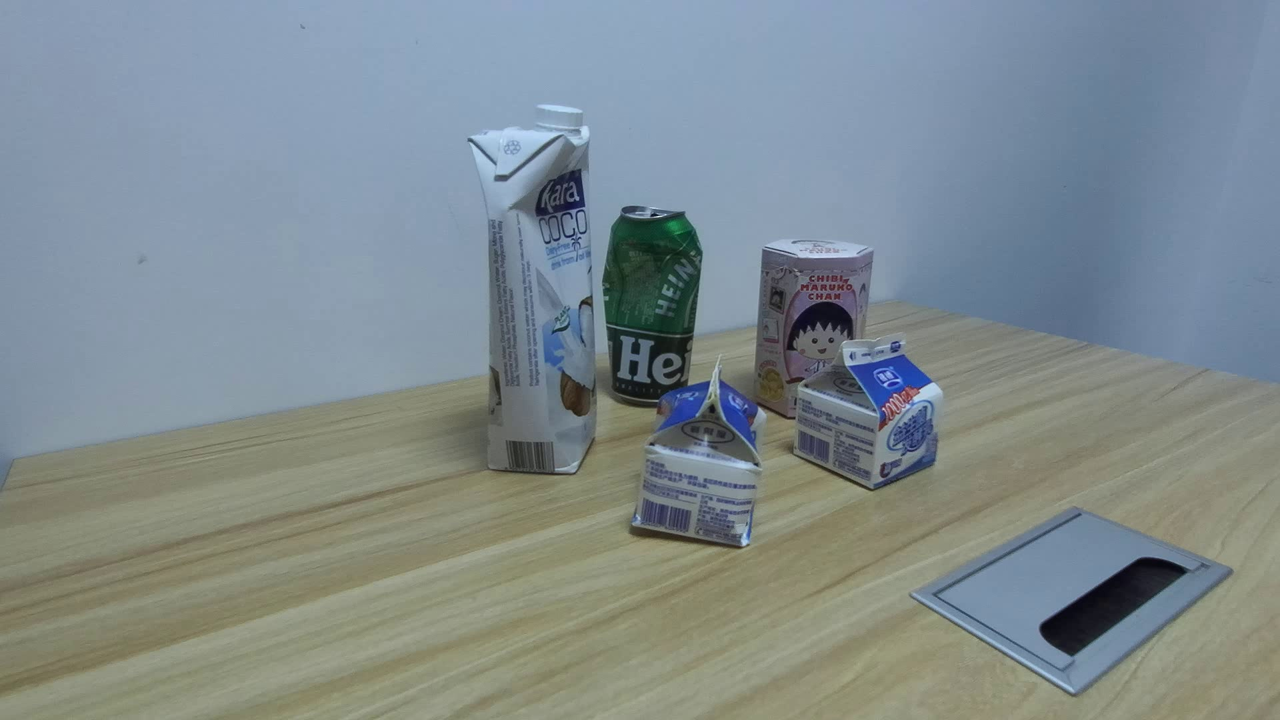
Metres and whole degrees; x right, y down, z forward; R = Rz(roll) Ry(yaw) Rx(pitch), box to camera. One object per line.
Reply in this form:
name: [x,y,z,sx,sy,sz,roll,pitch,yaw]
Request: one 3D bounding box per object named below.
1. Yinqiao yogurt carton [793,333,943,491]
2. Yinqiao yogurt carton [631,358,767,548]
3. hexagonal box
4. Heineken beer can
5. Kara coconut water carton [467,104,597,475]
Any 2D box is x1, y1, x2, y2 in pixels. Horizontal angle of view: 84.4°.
Yinqiao yogurt carton: [0.160,0.027,0.491,0.076,0.092,0.073,-10,19,-35]
Yinqiao yogurt carton: [0.038,0.049,0.415,0.071,0.094,0.077,9,19,8]
hexagonal box: [0.143,-0.026,0.586,0.091,0.136,0.084,0,17,0]
Heineken beer can: [0.008,-0.045,0.600,0.066,0.164,0.077,-6,22,-19]
Kara coconut water carton: [-0.066,-0.045,0.478,0.069,0.238,0.115,5,18,9]
